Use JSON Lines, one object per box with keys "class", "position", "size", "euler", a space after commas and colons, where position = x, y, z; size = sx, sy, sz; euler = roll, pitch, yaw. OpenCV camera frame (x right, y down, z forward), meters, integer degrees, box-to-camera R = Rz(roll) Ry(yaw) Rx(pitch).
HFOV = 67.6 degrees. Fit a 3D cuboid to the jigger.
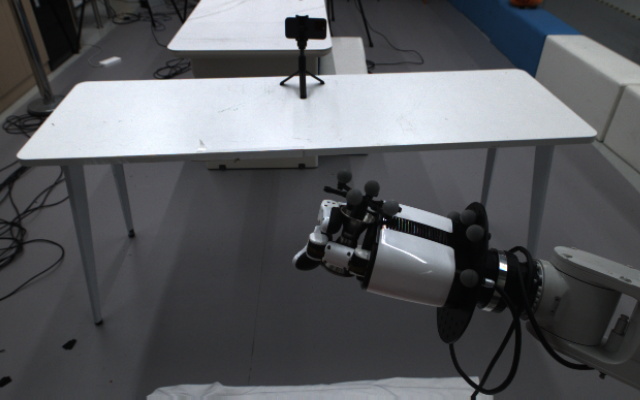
{"class": "jigger", "position": [0.032, 0.046, 0.540], "size": [0.043, 0.071, 0.043], "euler": [18, 17, -6]}
